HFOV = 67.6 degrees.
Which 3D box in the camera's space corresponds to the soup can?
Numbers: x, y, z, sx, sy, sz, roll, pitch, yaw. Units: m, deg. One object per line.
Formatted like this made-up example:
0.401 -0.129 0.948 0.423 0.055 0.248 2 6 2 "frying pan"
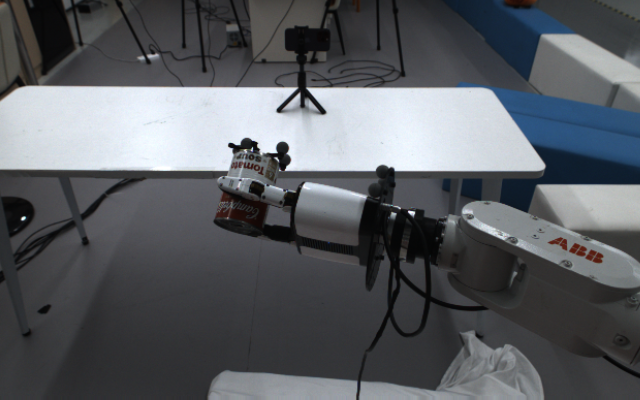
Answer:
-0.098 -0.009 0.658 0.067 0.067 0.101 9 72 10 "soup can"
